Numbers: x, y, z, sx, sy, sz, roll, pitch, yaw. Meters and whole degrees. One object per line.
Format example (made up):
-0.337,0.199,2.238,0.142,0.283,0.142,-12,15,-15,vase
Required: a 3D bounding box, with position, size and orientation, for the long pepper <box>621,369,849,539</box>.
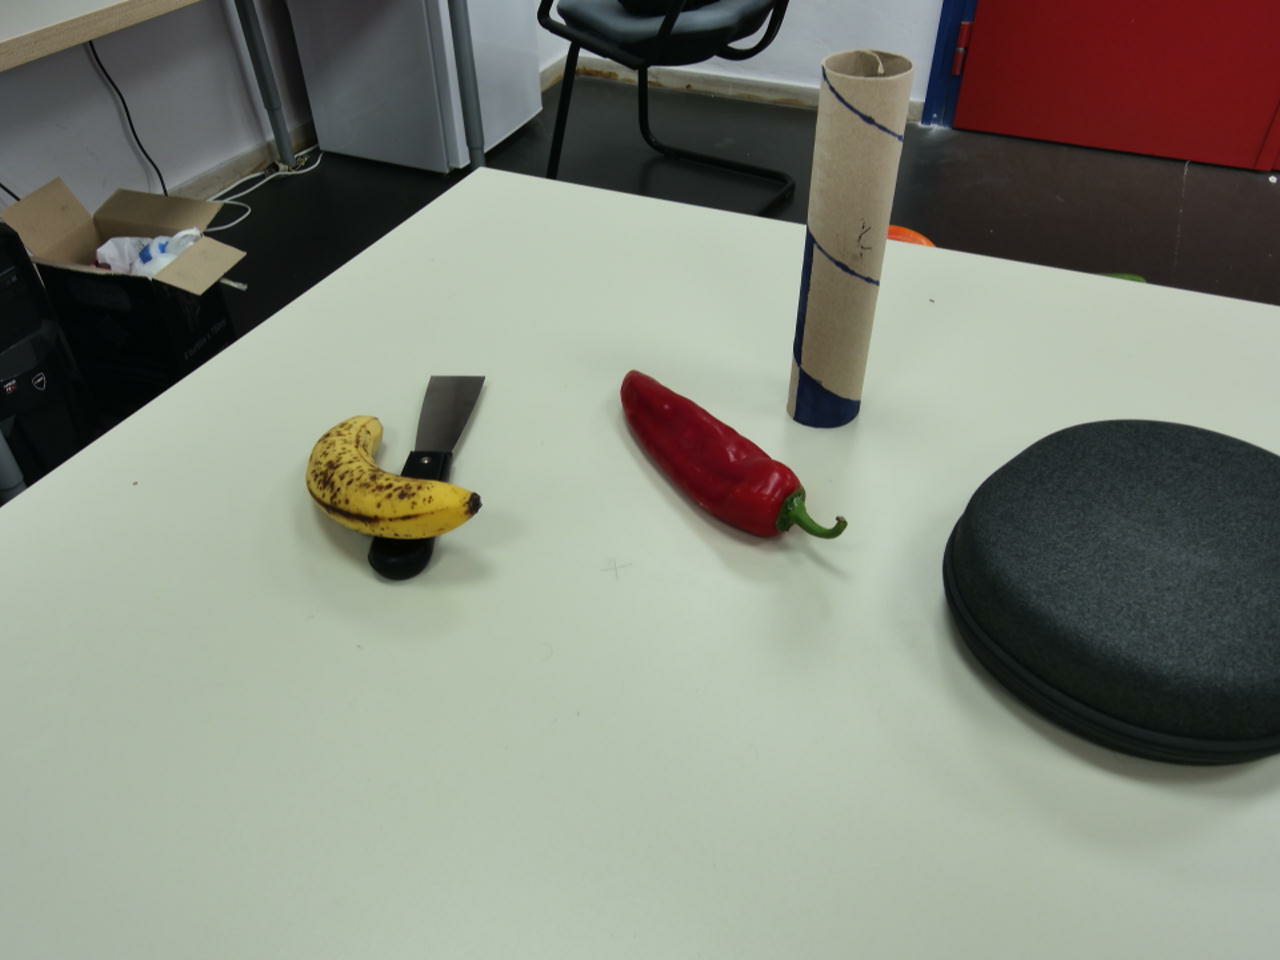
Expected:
0.042,-0.016,0.601,0.050,0.043,0.211,-22,43,-25,long pepper
